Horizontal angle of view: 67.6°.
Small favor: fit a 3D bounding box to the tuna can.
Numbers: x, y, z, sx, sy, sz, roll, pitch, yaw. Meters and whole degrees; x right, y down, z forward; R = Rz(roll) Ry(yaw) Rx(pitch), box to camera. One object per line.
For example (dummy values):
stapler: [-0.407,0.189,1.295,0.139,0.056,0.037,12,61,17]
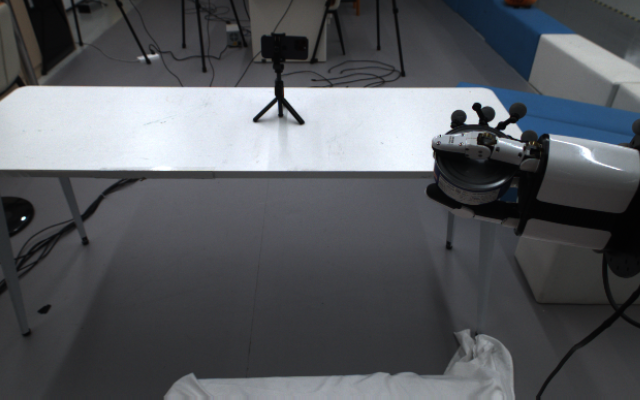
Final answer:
tuna can: [0.167,-0.041,0.522,0.085,0.034,0.085,-4,54,6]
